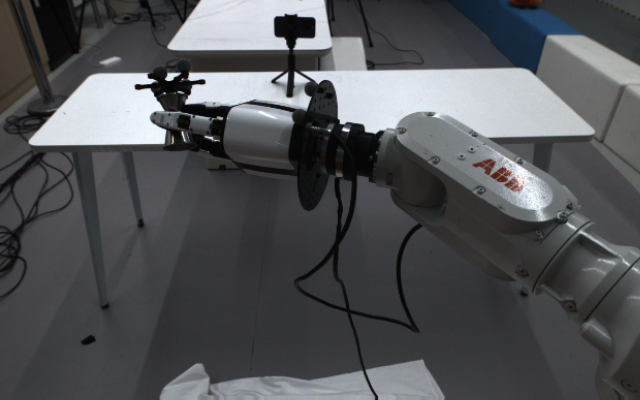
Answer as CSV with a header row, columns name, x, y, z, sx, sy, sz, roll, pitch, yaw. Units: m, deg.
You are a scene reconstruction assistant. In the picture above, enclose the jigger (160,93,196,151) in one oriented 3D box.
name,x,y,z,sx,sy,sz,roll,pitch,yaw
jigger,-0.187,-0.100,0.635,0.043,0.071,0.043,-10,-4,-1
